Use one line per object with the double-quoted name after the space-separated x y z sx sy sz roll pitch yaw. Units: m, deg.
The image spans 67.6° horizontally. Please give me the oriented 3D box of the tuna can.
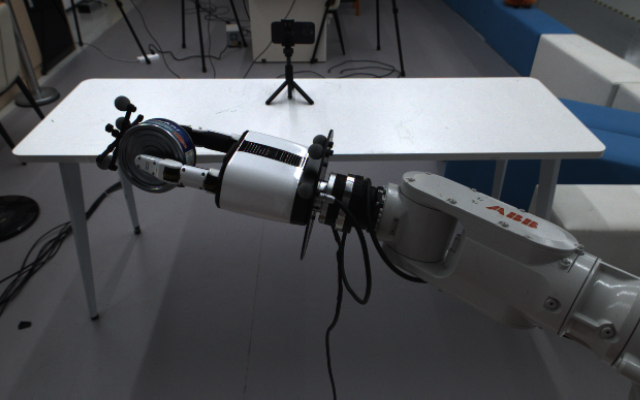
-0.193 -0.053 0.576 0.085 0.085 0.034 6 20 5 "tuna can"
